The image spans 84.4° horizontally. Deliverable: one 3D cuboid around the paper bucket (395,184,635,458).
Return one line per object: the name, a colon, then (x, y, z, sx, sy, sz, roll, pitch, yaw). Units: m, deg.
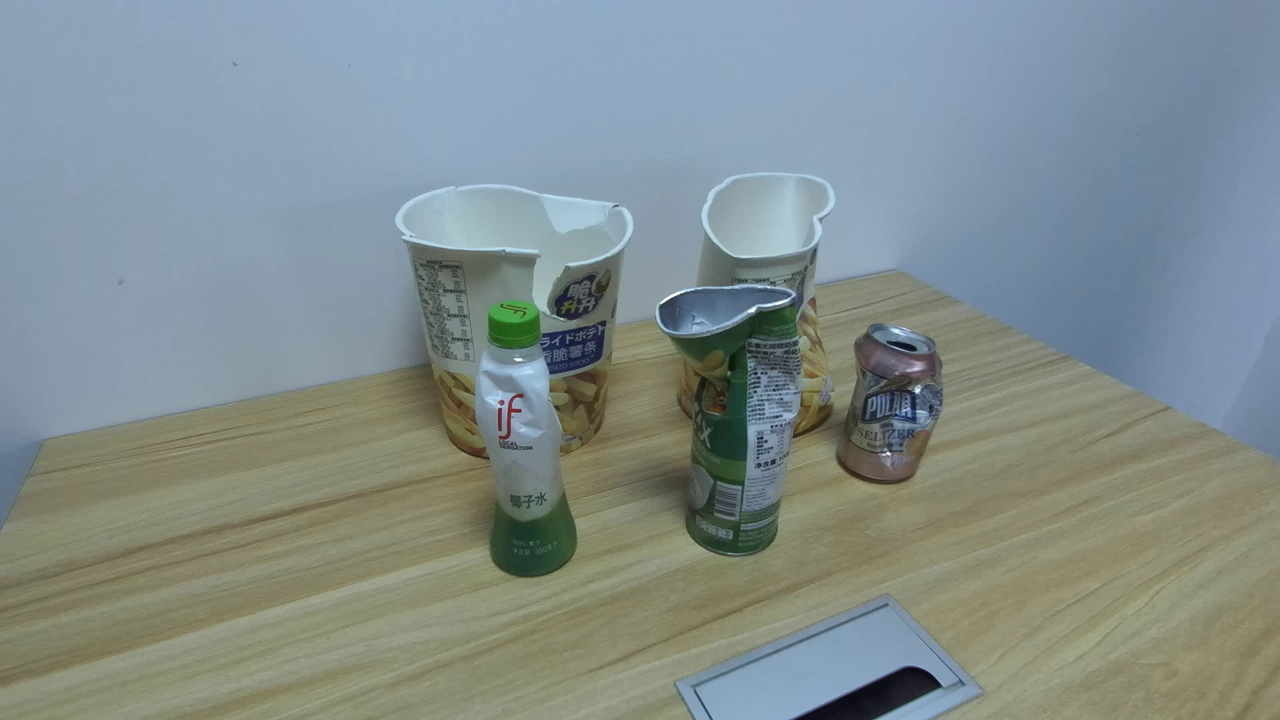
paper bucket: (-0.101, -0.032, 0.605, 0.202, 0.197, 0.146, 10, 32, 17)

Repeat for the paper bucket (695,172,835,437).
paper bucket: (0.110, -0.047, 0.631, 0.148, 0.199, 0.217, -5, 30, -9)

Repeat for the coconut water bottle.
coconut water bottle: (-0.076, 0.053, 0.468, 0.067, 0.187, 0.067, 0, 27, 0)

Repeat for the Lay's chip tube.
Lay's chip tube: (0.059, 0.042, 0.475, 0.071, 0.200, 0.078, -28, 39, -25)

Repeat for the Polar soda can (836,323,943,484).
Polar soda can: (0.205, 0.035, 0.576, 0.071, 0.122, 0.066, 3, 23, 0)
